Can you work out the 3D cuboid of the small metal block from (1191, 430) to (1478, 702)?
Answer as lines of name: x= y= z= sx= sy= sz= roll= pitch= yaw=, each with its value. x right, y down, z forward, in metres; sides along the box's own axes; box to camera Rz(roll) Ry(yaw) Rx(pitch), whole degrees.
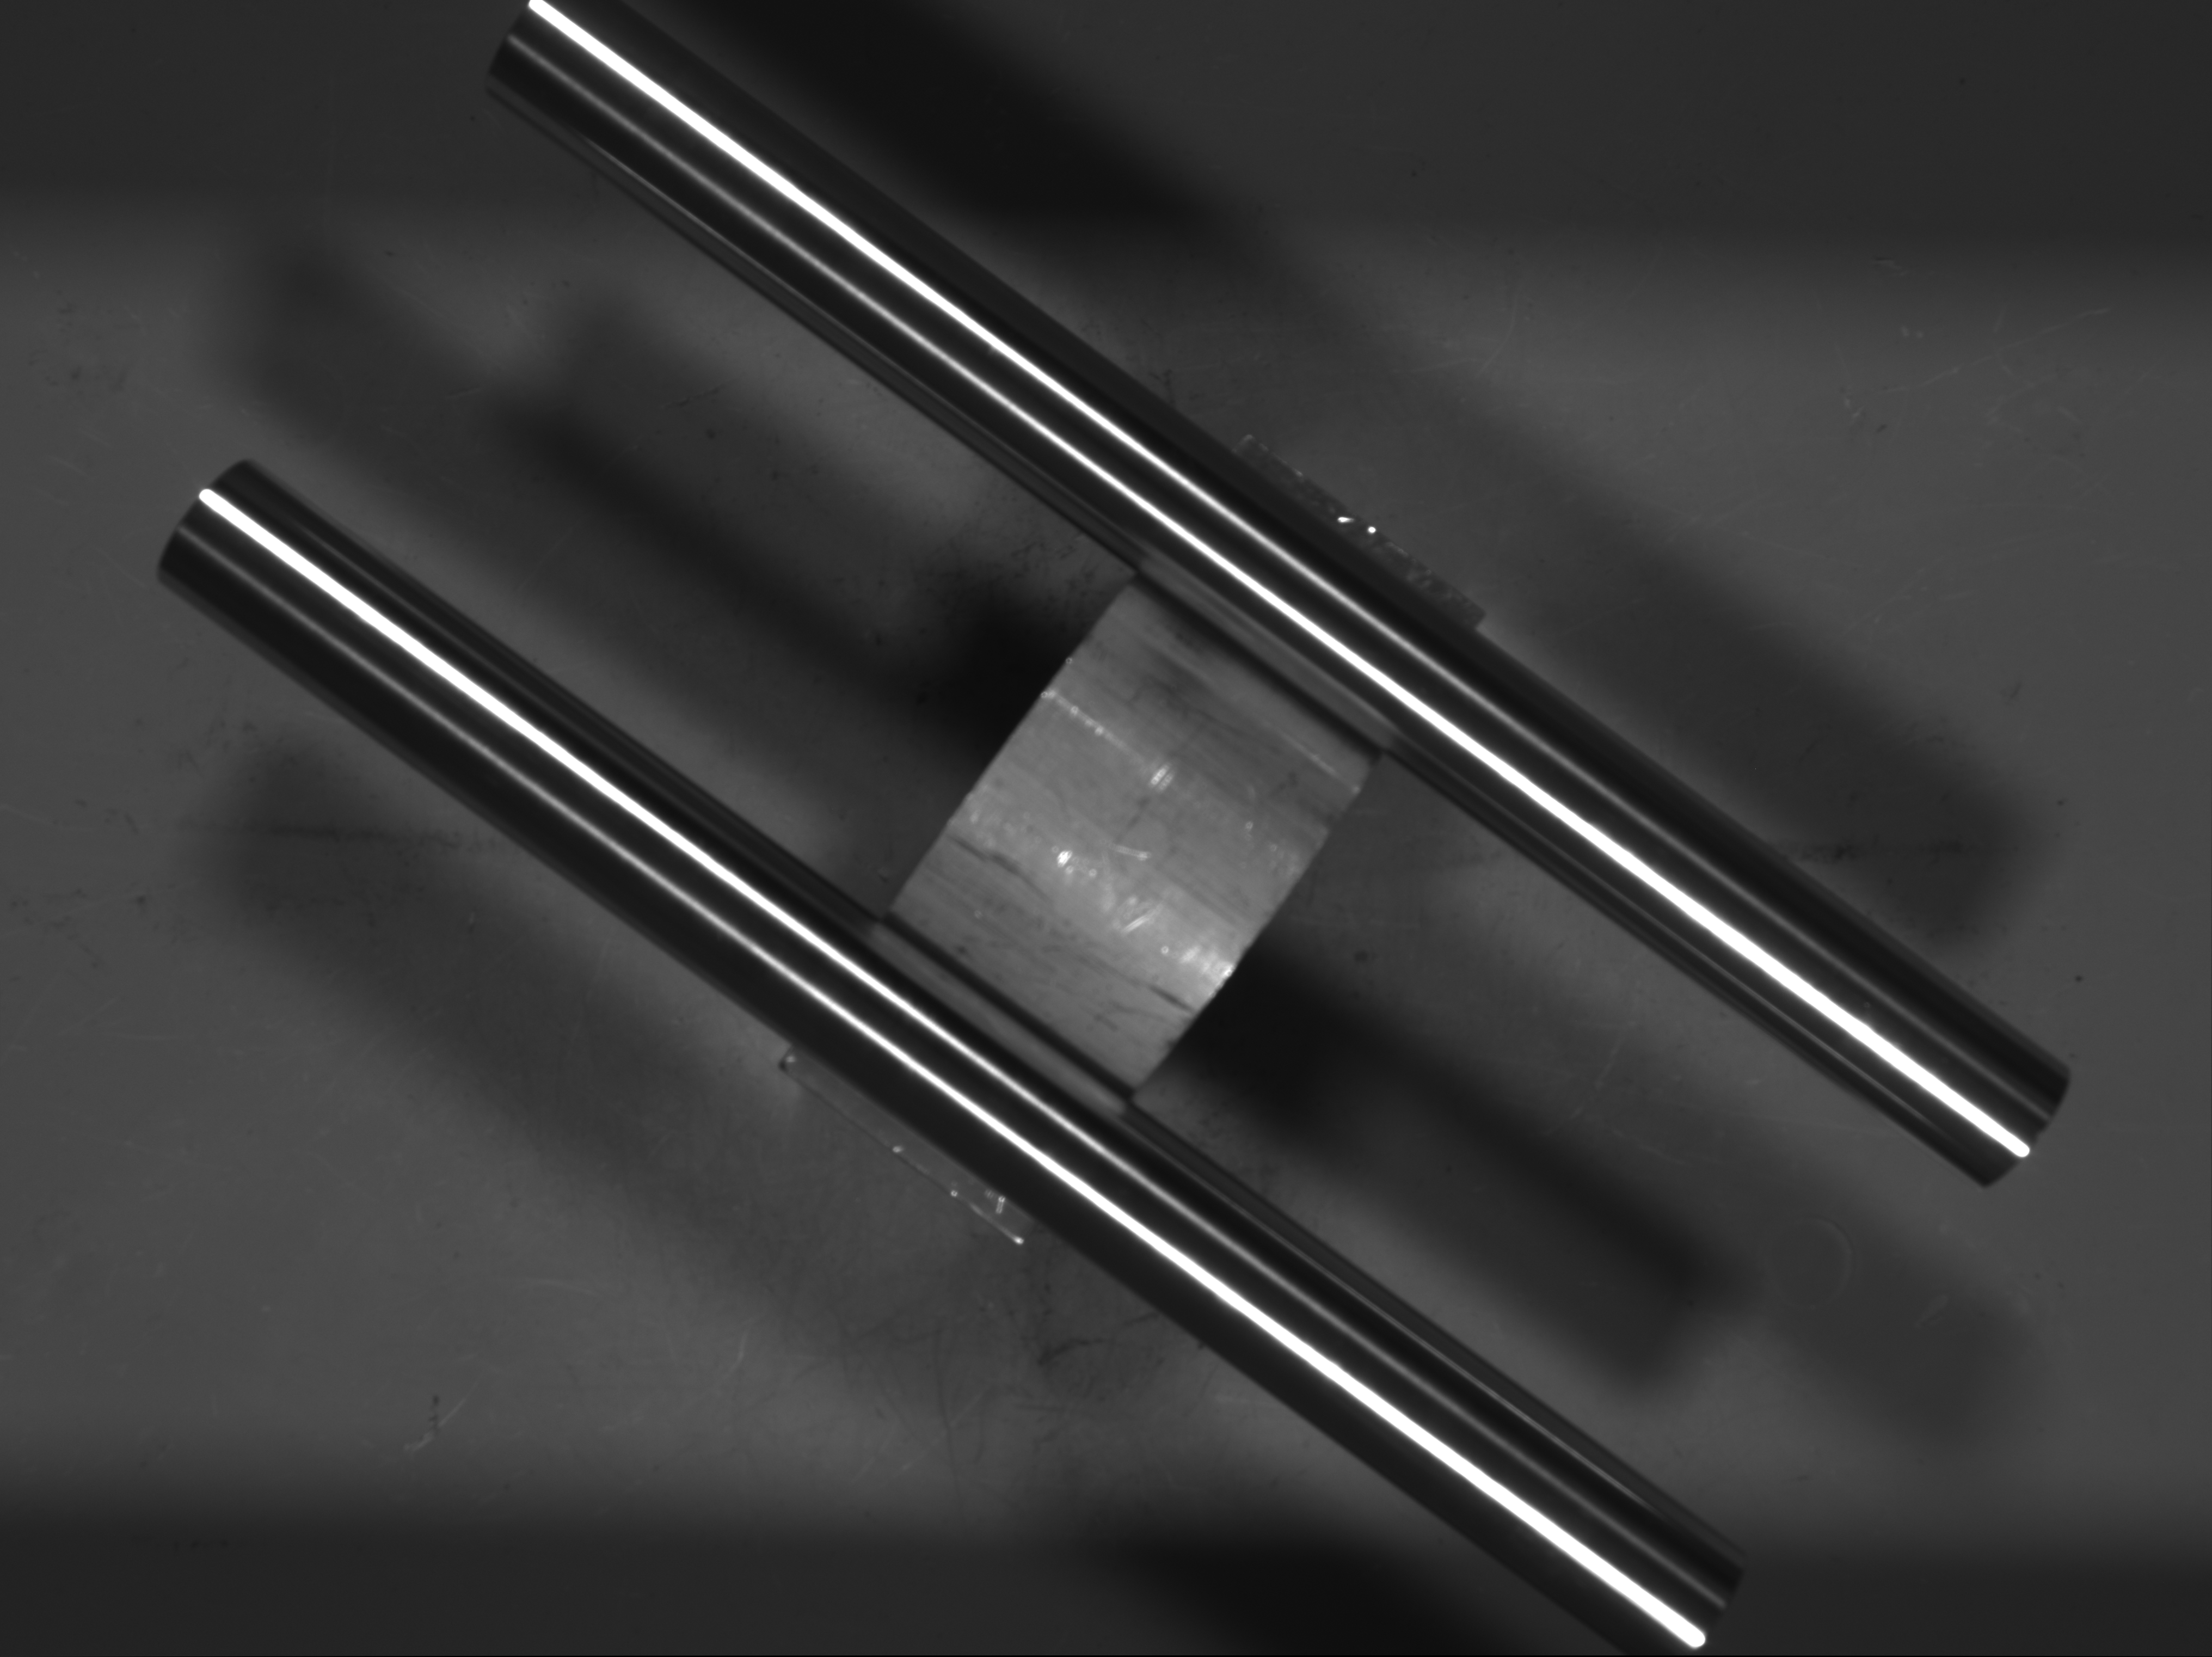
small metal block: x=0.034 y=-0.041 z=0.631 sx=0.050 sy=0.050 sz=0.025 roll=37 pitch=90 yaw=0

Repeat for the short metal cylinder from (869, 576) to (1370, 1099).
short metal cylinder: x=0.002 y=0.001 z=0.617 sx=0.050 sy=0.080 sz=0.080 roll=36 pitch=90 yaw=0

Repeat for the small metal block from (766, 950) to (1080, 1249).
small metal block: x=-0.029 y=0.045 z=0.631 sx=0.050 sy=0.050 sz=0.025 roll=37 pitch=90 yaw=0

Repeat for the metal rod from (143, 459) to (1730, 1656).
metal rod: x=-0.027 y=0.039 z=0.595 sx=0.300 sy=0.025 sz=0.025 roll=36 pitch=90 yaw=0

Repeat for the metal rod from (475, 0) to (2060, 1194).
metal rod: x=0.026 y=-0.040 z=0.595 sx=0.300 sy=0.025 sz=0.025 roll=36 pitch=90 yaw=0
